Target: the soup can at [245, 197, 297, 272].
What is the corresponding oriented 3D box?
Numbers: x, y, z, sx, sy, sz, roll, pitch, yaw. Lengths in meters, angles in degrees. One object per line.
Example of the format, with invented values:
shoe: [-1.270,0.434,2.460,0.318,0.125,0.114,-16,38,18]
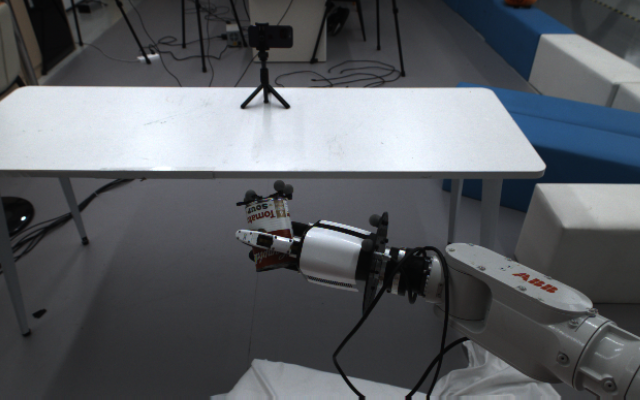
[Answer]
soup can: [-0.072,0.055,0.740,0.067,0.067,0.101,-10,80,-17]
